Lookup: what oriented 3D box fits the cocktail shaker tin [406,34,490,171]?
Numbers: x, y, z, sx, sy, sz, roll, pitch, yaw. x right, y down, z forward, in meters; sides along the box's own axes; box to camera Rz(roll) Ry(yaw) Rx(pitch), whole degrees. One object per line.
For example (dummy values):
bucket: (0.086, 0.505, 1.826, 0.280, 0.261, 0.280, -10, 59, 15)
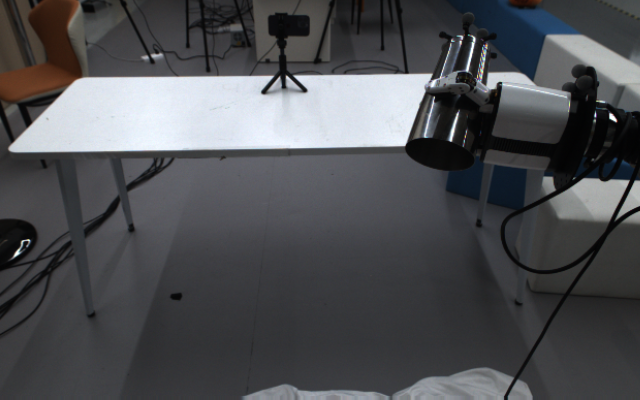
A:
cocktail shaker tin: (0.184, -0.136, 0.661, 0.093, 0.093, 0.170, 13, 73, 16)
